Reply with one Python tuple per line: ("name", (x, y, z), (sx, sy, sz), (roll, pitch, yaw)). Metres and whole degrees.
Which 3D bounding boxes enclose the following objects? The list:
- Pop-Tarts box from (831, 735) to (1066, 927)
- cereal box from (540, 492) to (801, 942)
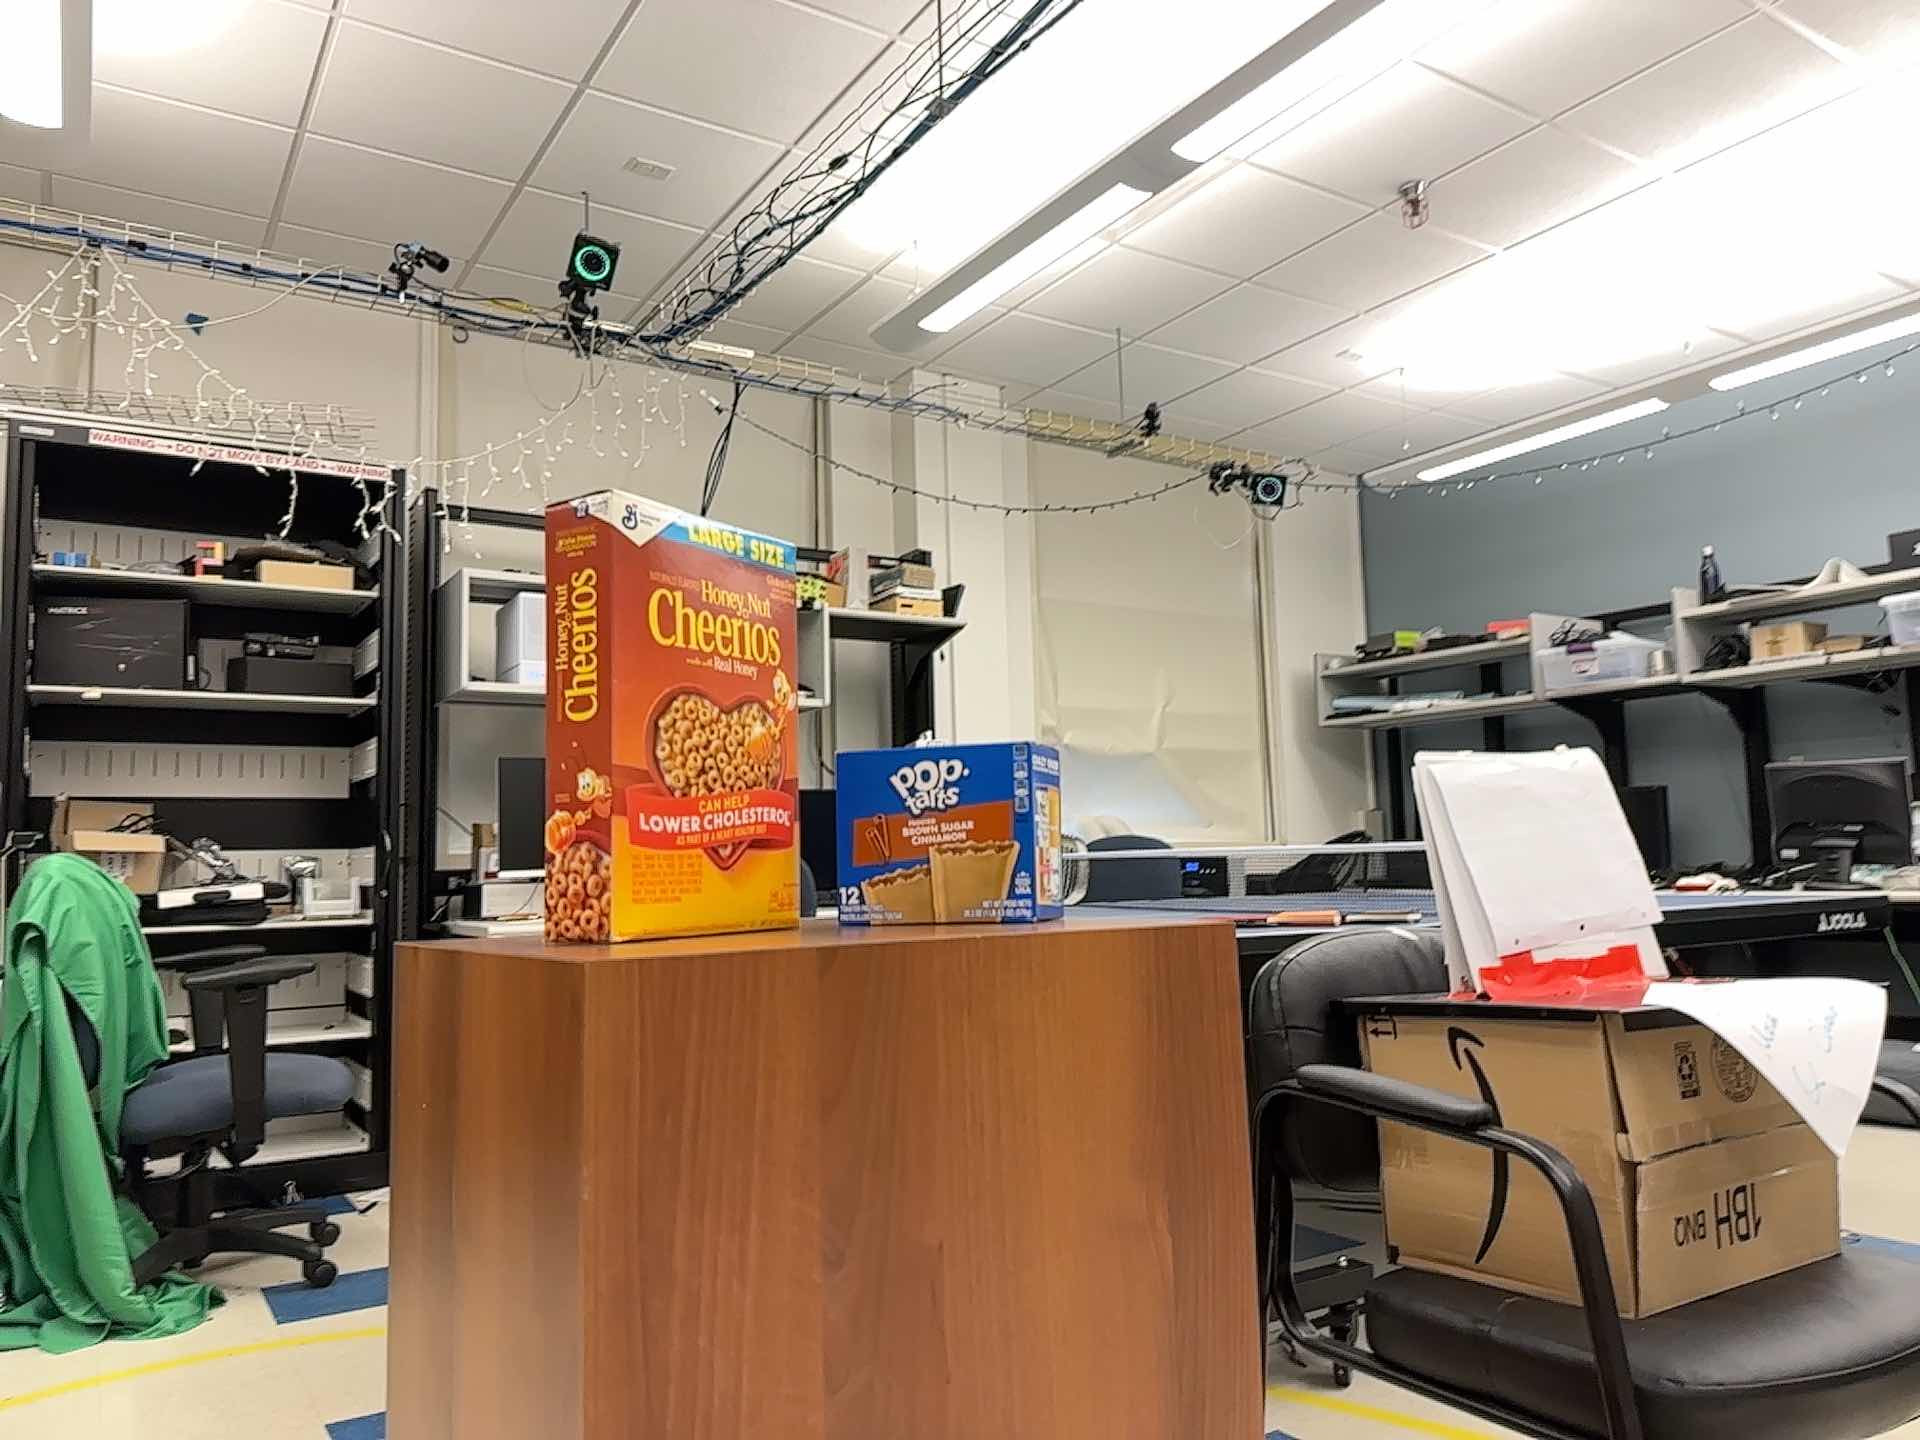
("Pop-Tarts box", (-0.010, 0.090, 1.069), (0.161, 0.135, 0.075), (-4, -9, 19))
("cereal box", (-0.207, 0.004, 0.988), (0.065, 0.297, 0.195), (-6, -8, 28))
